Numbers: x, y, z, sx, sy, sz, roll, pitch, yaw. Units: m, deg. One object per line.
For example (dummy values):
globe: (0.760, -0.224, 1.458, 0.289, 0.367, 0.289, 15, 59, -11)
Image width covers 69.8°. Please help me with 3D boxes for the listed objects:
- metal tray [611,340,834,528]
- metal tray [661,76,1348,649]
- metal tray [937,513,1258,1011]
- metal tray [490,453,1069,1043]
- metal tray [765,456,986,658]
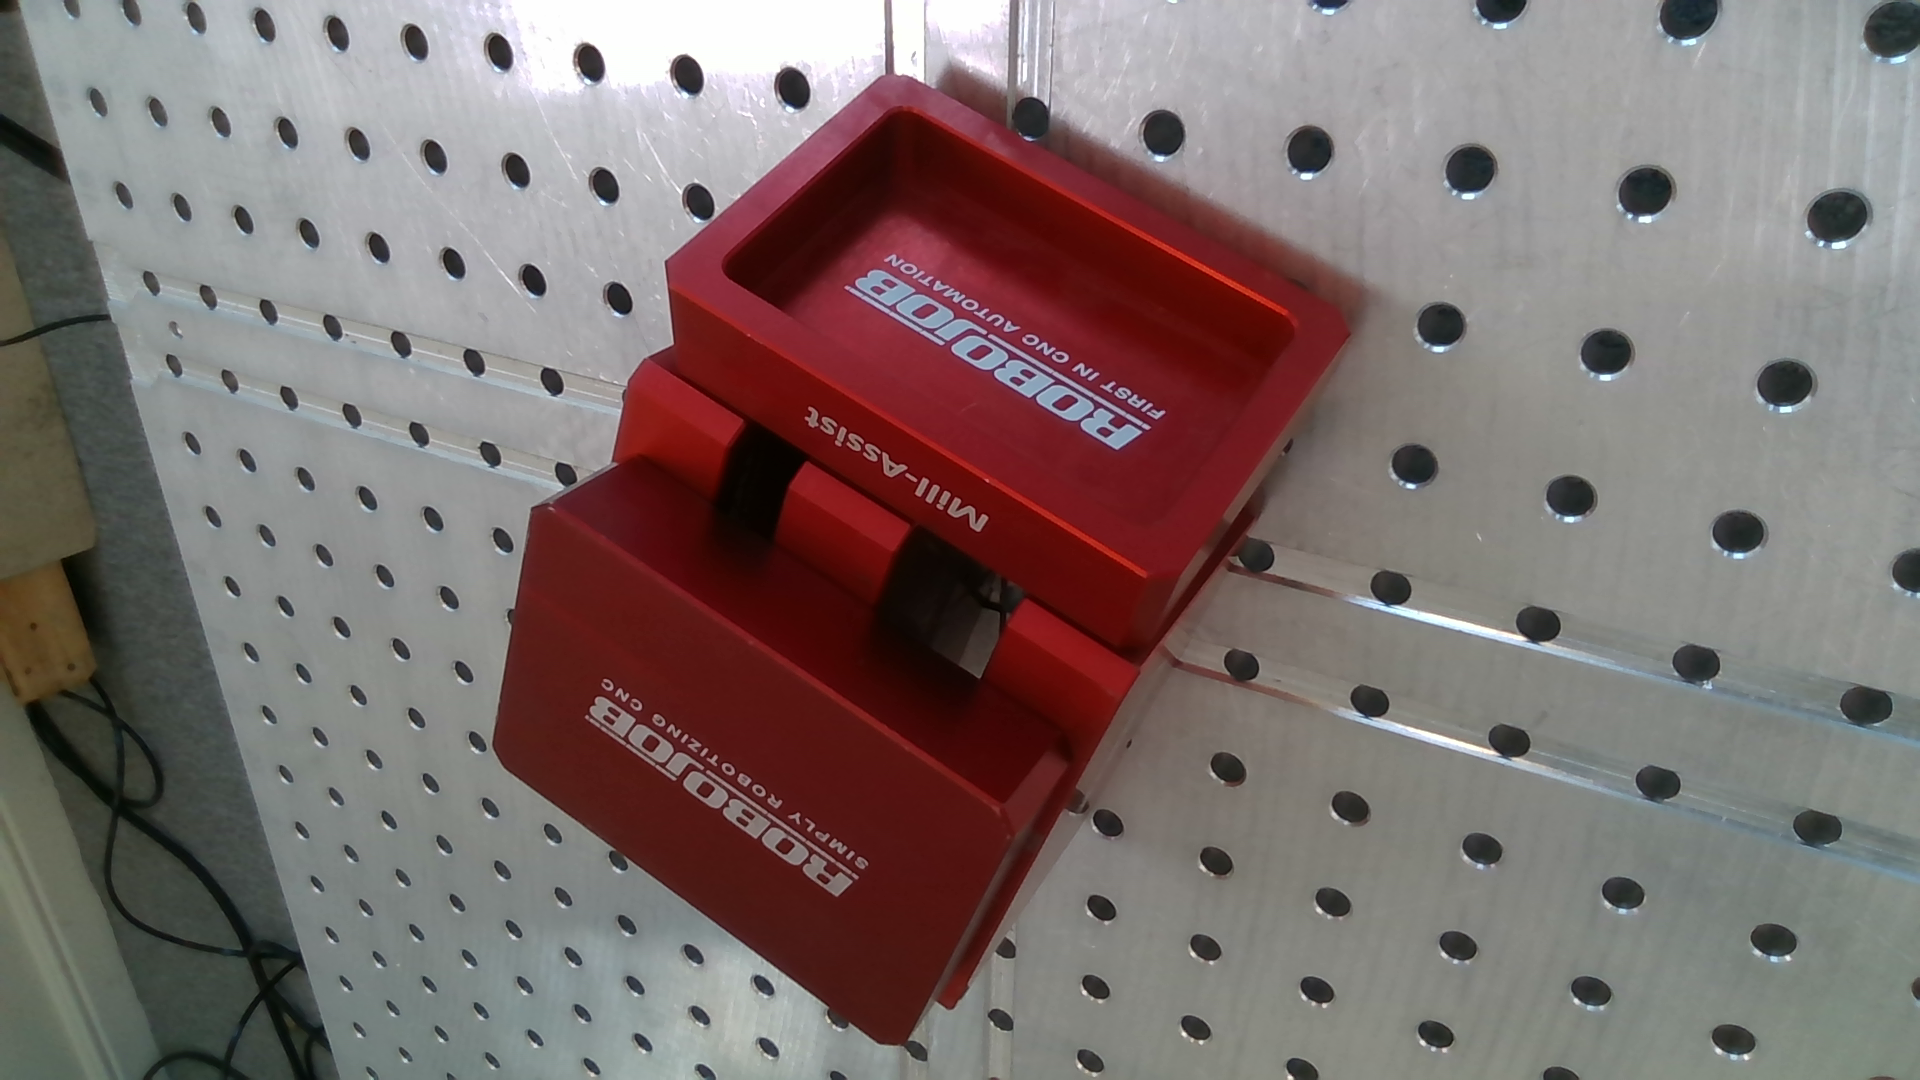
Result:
metal tray: (-0.063, -0.003, 0.385, 0.030, 0.090, 0.130, 33, 128, 13)
metal tray: (0.010, -0.046, 0.315, 0.130, 0.090, 0.030, 32, 149, 13)
metal tray: (0.025, 0.052, 0.362, 0.030, 0.090, 0.130, 33, 127, 13)
metal tray: (-0.049, 0.050, 0.328, 0.130, 0.030, 0.090, 32, 127, 13)
metal tray: (-0.025, 0.021, 0.375, 0.030, 0.090, 0.130, 31, 128, 13)
